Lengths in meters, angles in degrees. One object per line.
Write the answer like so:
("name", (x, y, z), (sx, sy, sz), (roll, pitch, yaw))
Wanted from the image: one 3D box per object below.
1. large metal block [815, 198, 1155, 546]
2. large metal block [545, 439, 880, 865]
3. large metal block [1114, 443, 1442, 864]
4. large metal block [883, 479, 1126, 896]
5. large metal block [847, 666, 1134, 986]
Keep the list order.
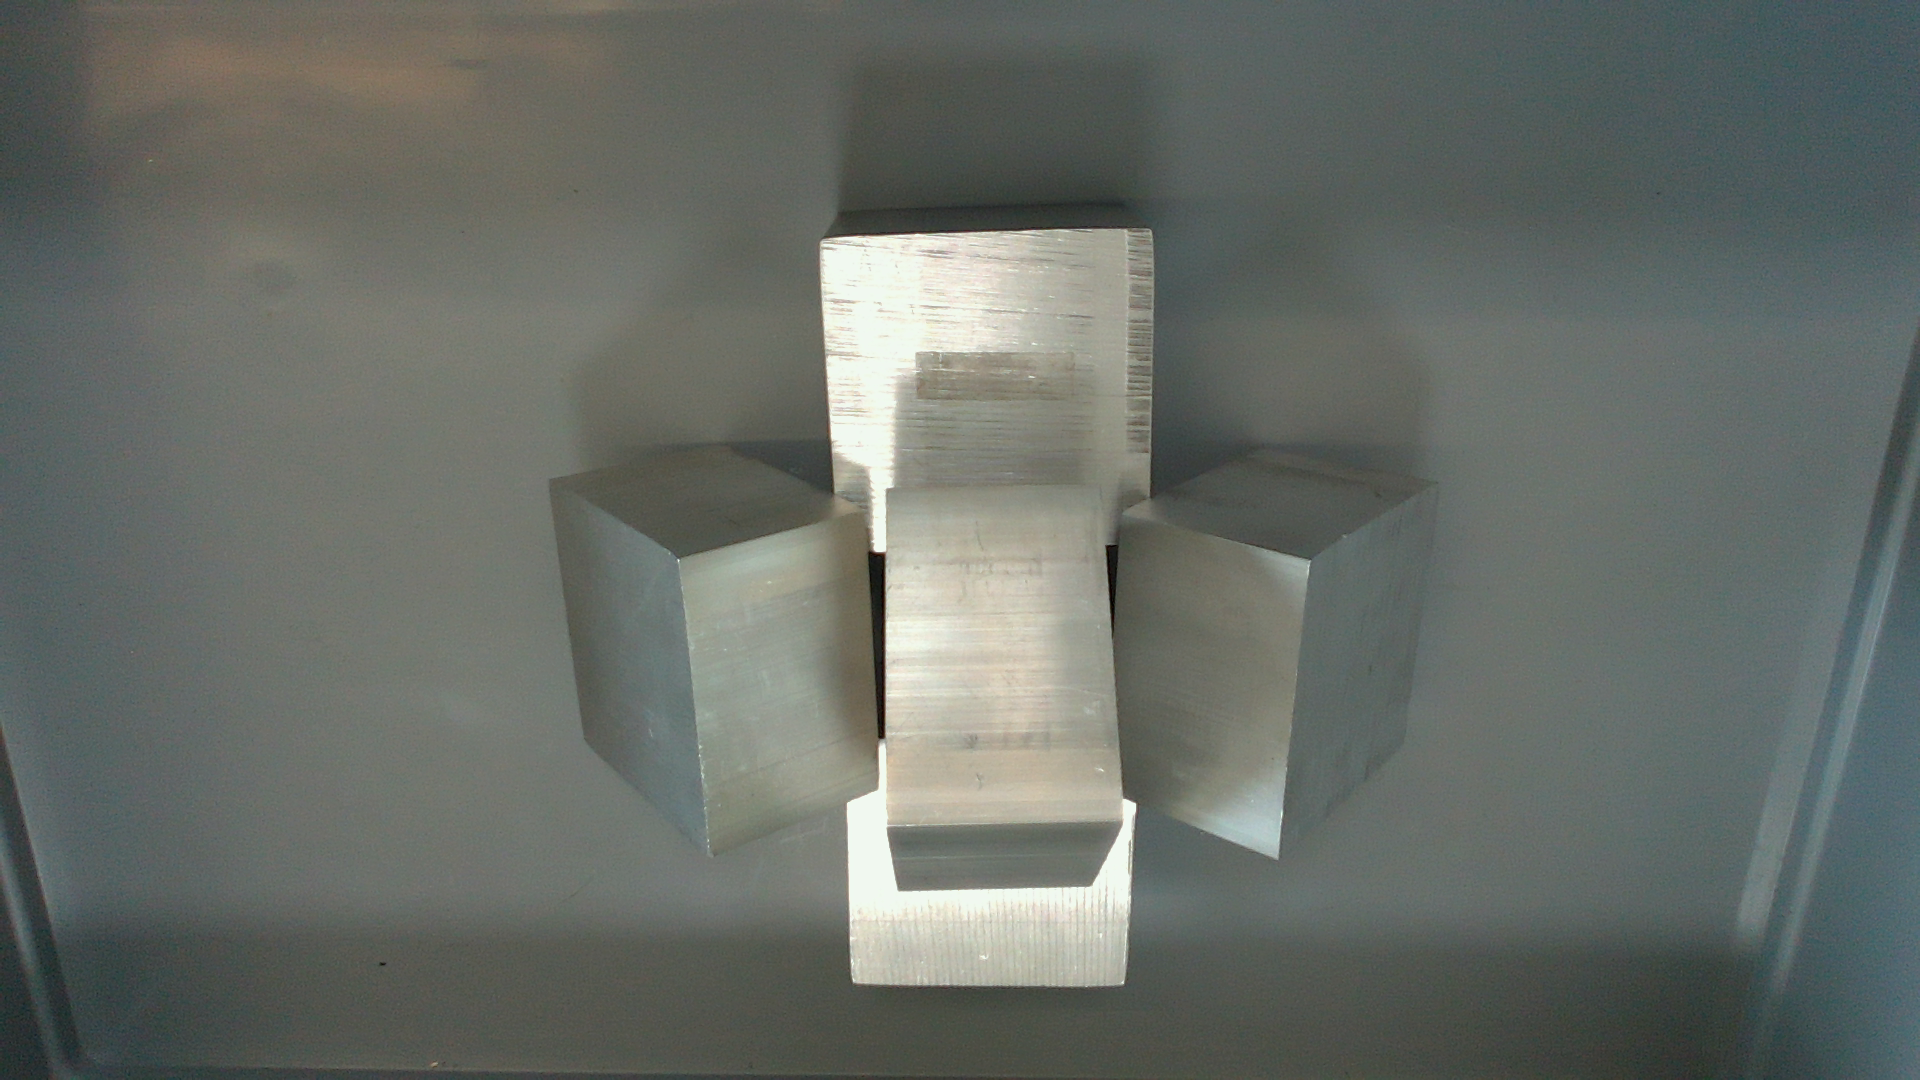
("large metal block", (0.007, -0.045, 0.360), (0.080, 0.050, 0.080), (-2, 110, 0))
("large metal block", (-0.066, 0.025, 0.364), (0.050, 0.080, 0.080), (-16, 115, -33))
("large metal block", (0.083, 0.025, 0.366), (0.050, 0.080, 0.080), (17, 116, 35))
("large metal block", (0.008, 0.039, 0.336), (0.050, 0.080, 0.080), (-1, 66, -1))
("large metal block", (0.008, 0.084, 0.411), (0.080, 0.050, 0.080), (1, 110, 0))
